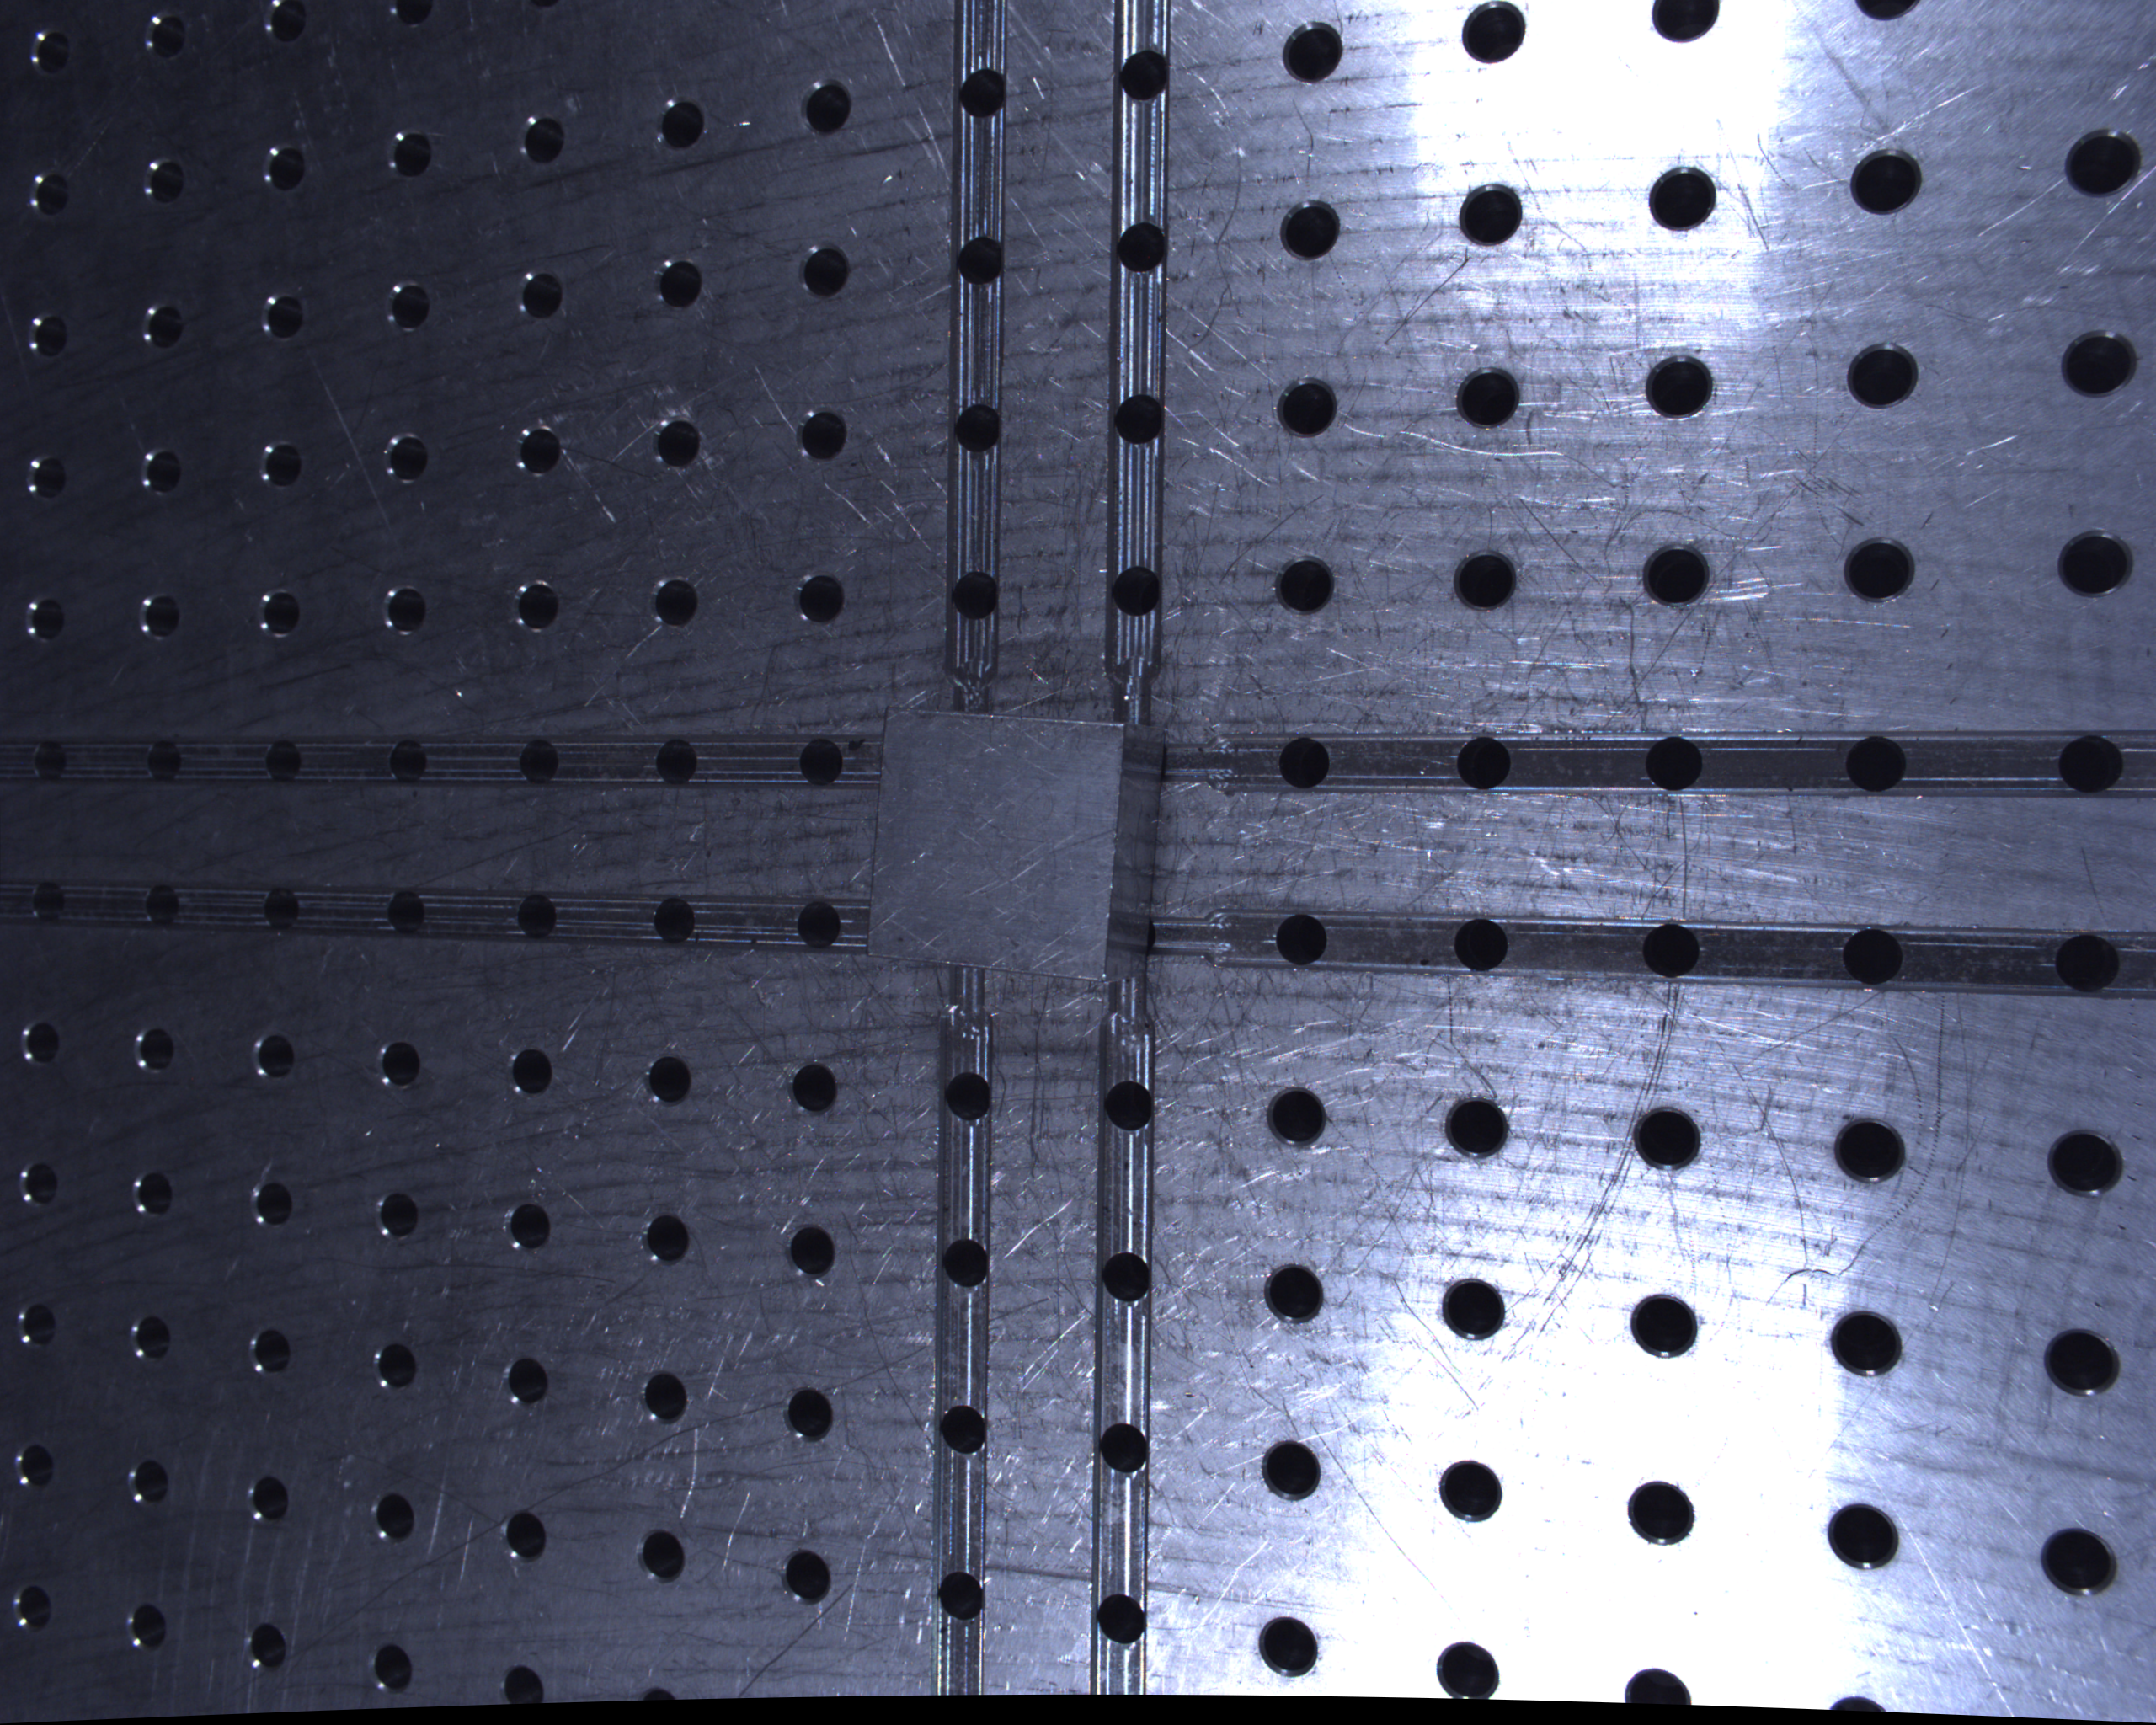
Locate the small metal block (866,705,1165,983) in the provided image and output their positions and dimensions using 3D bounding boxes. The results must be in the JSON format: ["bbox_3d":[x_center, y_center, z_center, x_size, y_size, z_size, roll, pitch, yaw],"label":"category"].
[{"bbox_3d":[-0.012,-0.004,0.416,0.050,0.025,0.050,5,92,19],"label":"small metal block"}]
